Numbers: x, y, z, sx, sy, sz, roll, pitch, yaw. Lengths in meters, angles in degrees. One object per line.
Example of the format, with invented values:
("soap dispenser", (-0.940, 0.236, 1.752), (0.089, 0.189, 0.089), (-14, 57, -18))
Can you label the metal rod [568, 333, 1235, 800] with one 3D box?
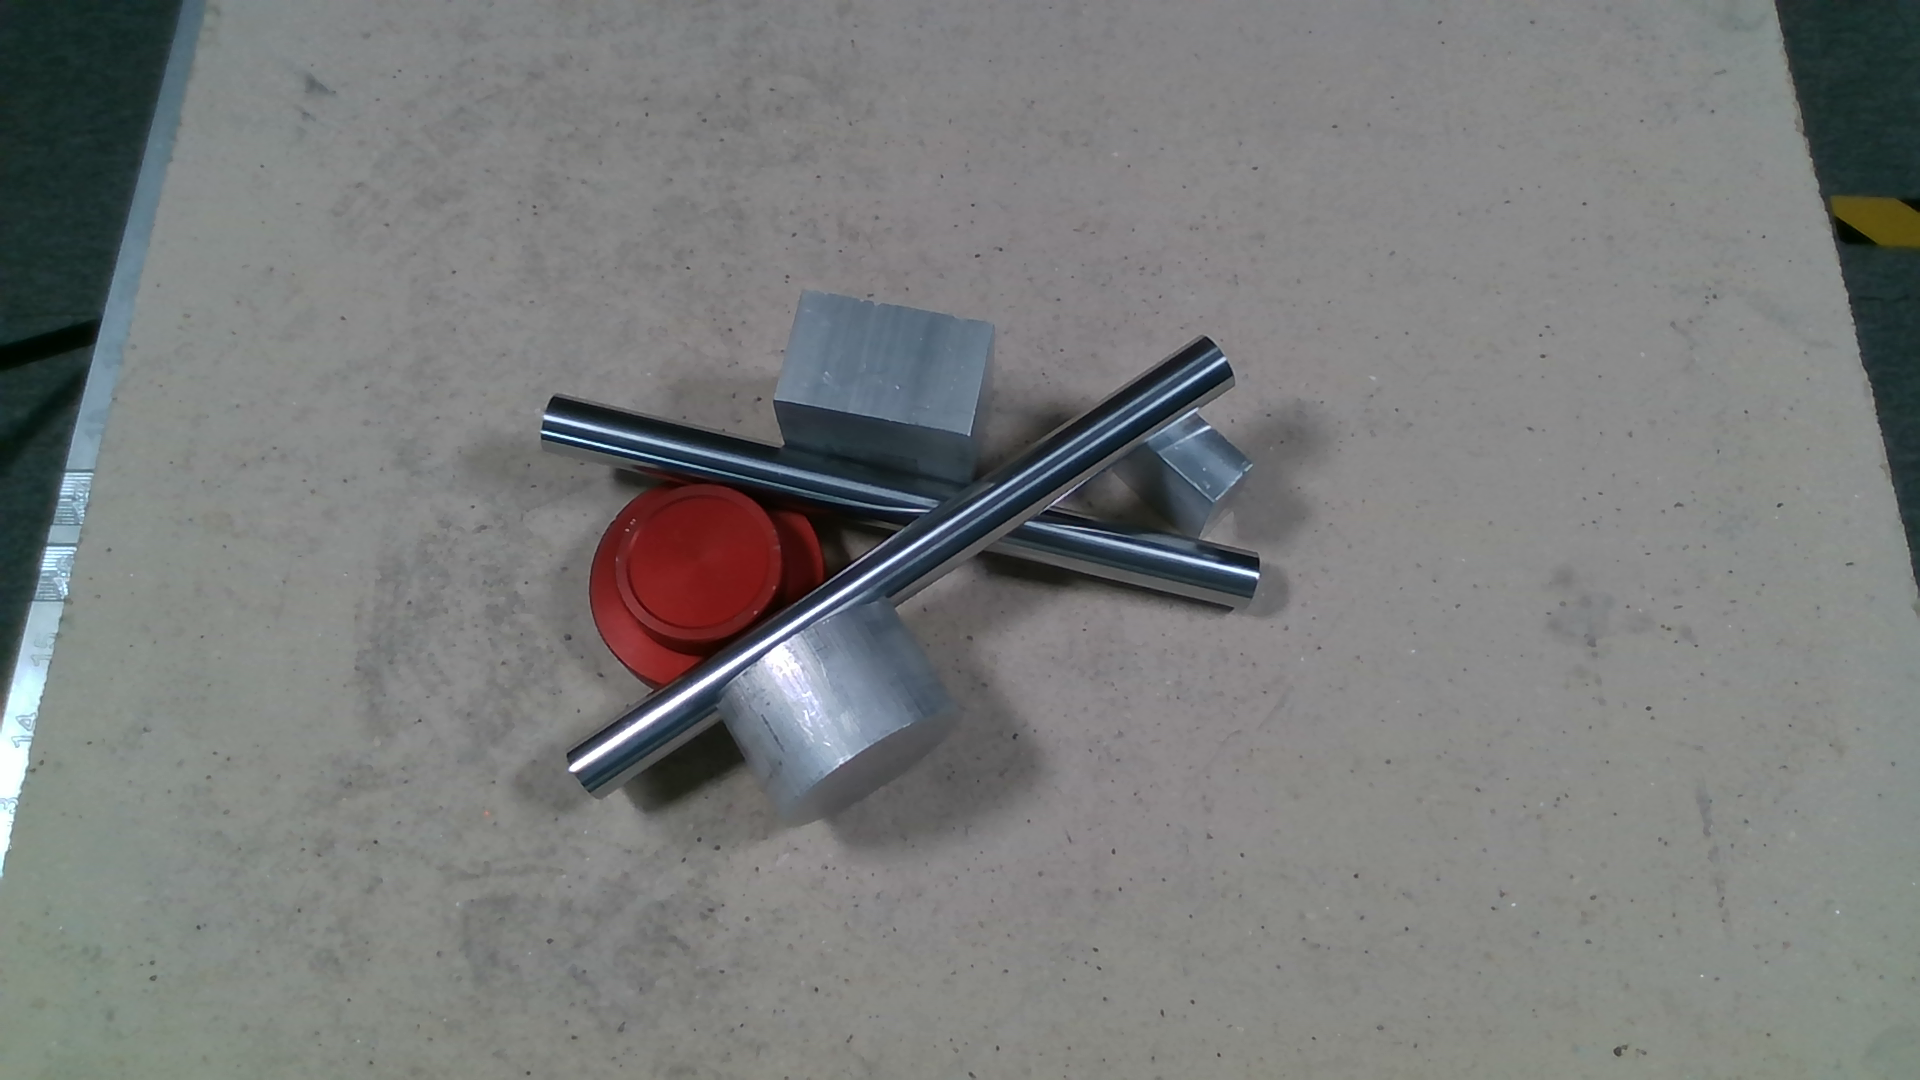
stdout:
("metal rod", (-0.022, 0.010, 0.548), (0.300, 0.025, 0.025), (-33, 73, -2))

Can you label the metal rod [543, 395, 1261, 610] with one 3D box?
("metal rod", (-0.023, -0.016, 0.578), (0.300, 0.025, 0.025), (13, 71, -2))

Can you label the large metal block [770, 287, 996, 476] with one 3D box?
("large metal block", (-0.030, -0.058, 0.580), (0.080, 0.080, 0.050), (11, 70, 4))

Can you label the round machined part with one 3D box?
("round machined part", (-0.106, 0.016, 0.574), (0.098, 0.042, 0.098), (0, 70, 0))

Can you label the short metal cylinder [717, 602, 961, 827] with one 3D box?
("short metal cylinder", (-0.047, 0.068, 0.535), (0.080, 0.080, 0.050), (-31, 73, -10))

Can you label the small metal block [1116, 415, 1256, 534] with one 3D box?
("small metal block", (0.094, -0.031, 0.586), (0.050, 0.050, 0.025), (43, 76, 14))
